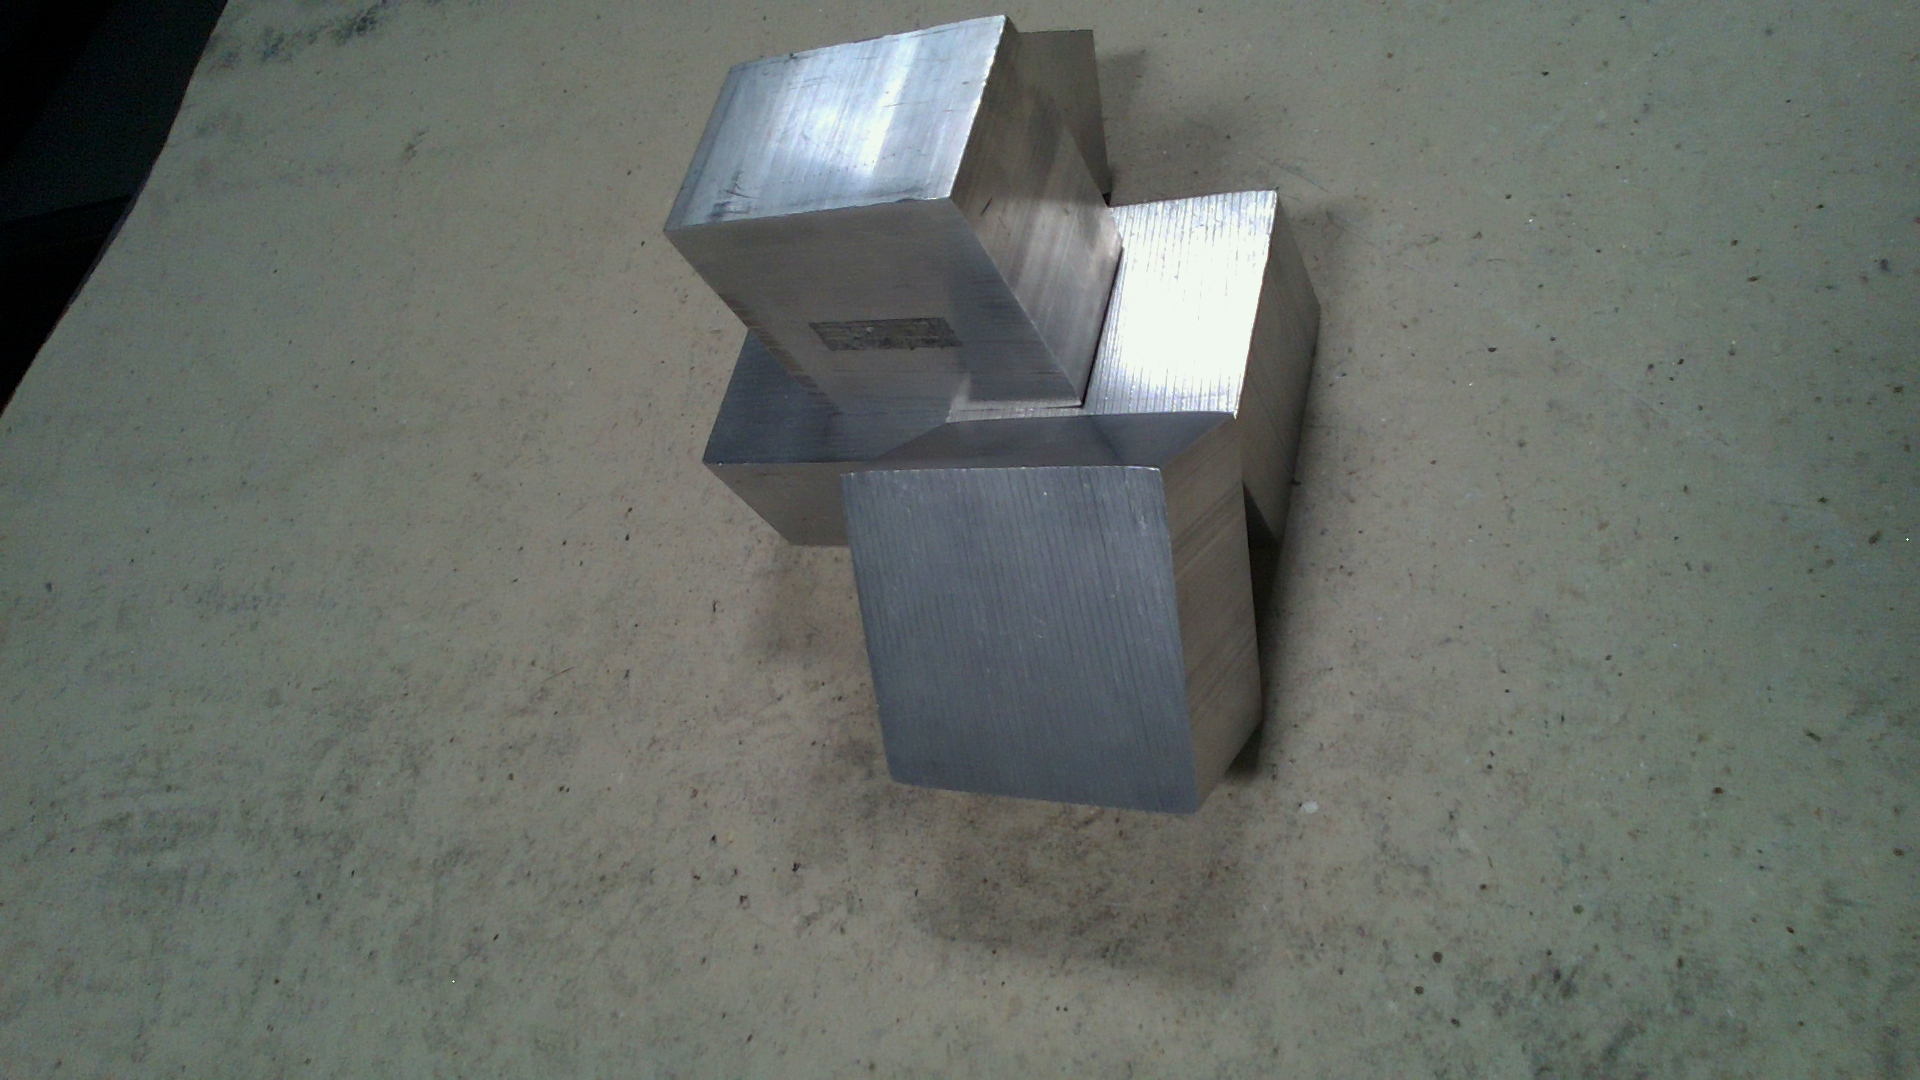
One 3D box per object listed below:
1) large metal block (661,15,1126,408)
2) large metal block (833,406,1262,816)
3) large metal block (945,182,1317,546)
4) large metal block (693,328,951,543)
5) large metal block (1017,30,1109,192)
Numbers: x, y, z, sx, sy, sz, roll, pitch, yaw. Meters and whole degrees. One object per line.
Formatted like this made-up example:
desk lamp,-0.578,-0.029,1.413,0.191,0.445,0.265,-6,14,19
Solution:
large metal block,-0.013,-0.078,0.349,0.080,0.080,0.050,1,62,29
large metal block,0.023,0.014,0.329,0.080,0.080,0.050,0,18,29
large metal block,0.048,-0.046,0.378,0.080,0.050,0.080,1,62,29
large metal block,-0.022,-0.046,0.416,0.080,0.050,0.080,1,62,29
large metal block,-0.007,-0.127,0.433,0.080,0.050,0.080,0,18,29
